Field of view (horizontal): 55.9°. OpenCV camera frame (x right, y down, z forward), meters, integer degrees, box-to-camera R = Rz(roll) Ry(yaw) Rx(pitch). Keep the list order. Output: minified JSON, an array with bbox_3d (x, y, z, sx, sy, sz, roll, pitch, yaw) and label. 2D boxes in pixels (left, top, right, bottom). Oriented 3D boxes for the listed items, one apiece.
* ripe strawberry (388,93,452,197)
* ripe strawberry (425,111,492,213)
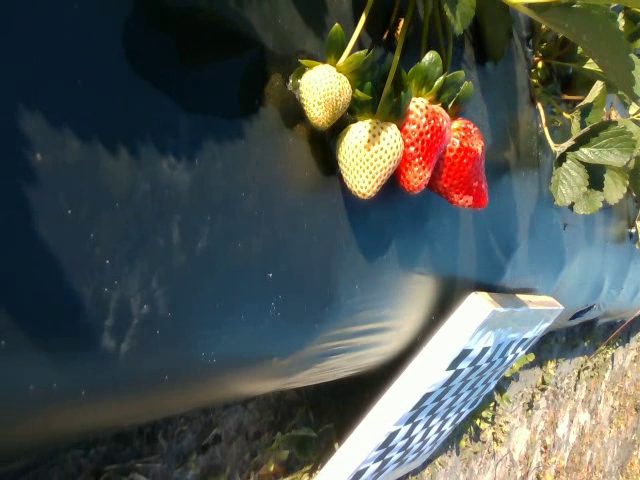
[{"bbox_3d":[0.050,-0.049,0.313,0.043,0.061,0.051,0,-22,13],"label":"ripe strawberry"},{"bbox_3d":[0.082,-0.042,0.356,0.056,0.067,0.051,-34,8,-19],"label":"ripe strawberry"}]
